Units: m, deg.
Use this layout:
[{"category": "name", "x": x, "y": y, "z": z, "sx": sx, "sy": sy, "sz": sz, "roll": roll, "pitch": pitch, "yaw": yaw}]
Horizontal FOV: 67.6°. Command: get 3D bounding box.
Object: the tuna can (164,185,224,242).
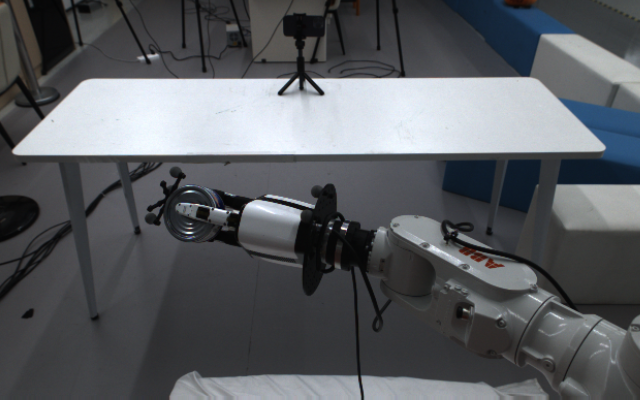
[{"category": "tuna can", "x": -0.185, "y": 0.021, "z": 0.716, "sx": 0.085, "sy": 0.085, "sz": 0.034, "roll": 9, "pitch": -2, "yaw": 10}]
